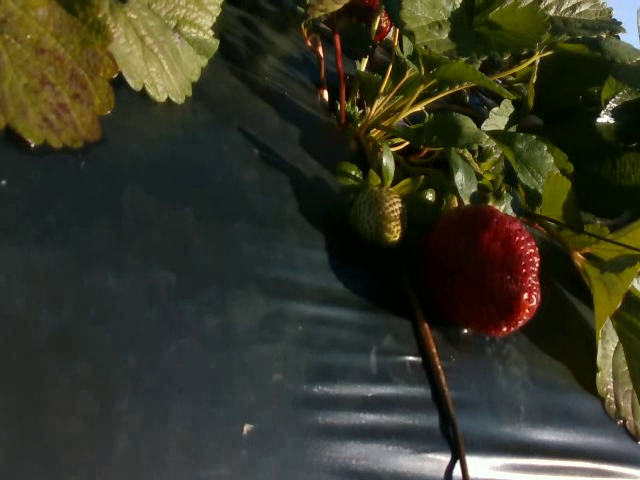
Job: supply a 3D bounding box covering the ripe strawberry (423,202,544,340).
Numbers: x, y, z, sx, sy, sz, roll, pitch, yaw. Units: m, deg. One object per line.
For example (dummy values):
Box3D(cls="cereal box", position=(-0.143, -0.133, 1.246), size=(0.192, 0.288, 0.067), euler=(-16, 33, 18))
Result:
Box3D(cls="ripe strawberry", position=(0.049, 0.011, 0.179), size=(0.041, 0.043, 0.053), euler=(31, 11, -25))
